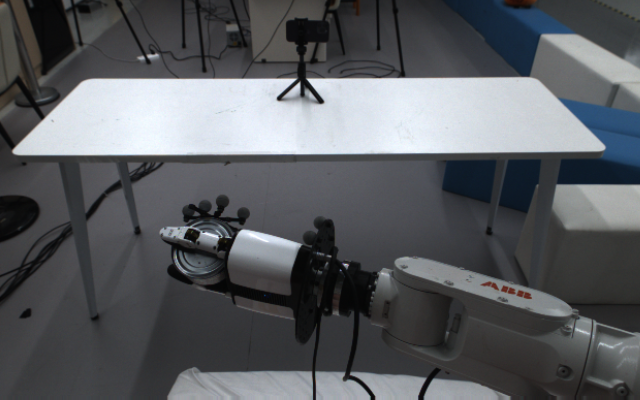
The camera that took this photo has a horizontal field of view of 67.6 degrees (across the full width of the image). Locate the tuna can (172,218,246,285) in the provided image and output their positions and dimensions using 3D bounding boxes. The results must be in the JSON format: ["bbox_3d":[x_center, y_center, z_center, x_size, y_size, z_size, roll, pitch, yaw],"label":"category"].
[{"bbox_3d":[-0.150,0.069,0.644,0.085,0.034,0.085,-3,61,6],"label":"tuna can"}]
